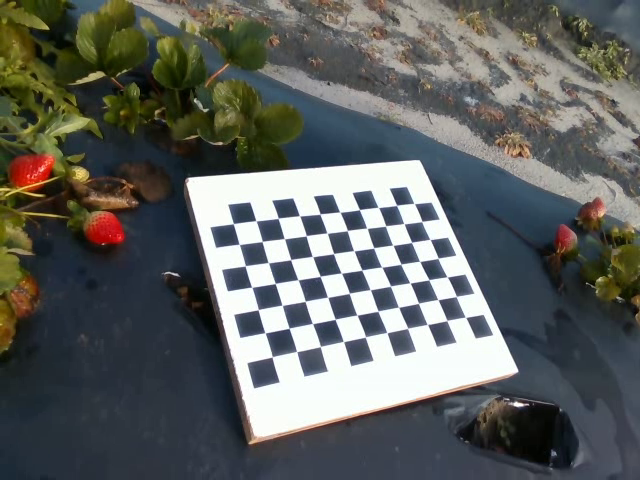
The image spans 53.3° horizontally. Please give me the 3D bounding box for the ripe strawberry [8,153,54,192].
[{"bbox_3d":[-0.265,-0.068,0.580,0.048,0.040,0.031,-36,-19,9],"label":"ripe strawberry"}]

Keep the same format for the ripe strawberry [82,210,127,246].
[{"bbox_3d":[-0.196,-0.009,0.573,0.043,0.035,0.030,36,-37,8],"label":"ripe strawberry"}]
